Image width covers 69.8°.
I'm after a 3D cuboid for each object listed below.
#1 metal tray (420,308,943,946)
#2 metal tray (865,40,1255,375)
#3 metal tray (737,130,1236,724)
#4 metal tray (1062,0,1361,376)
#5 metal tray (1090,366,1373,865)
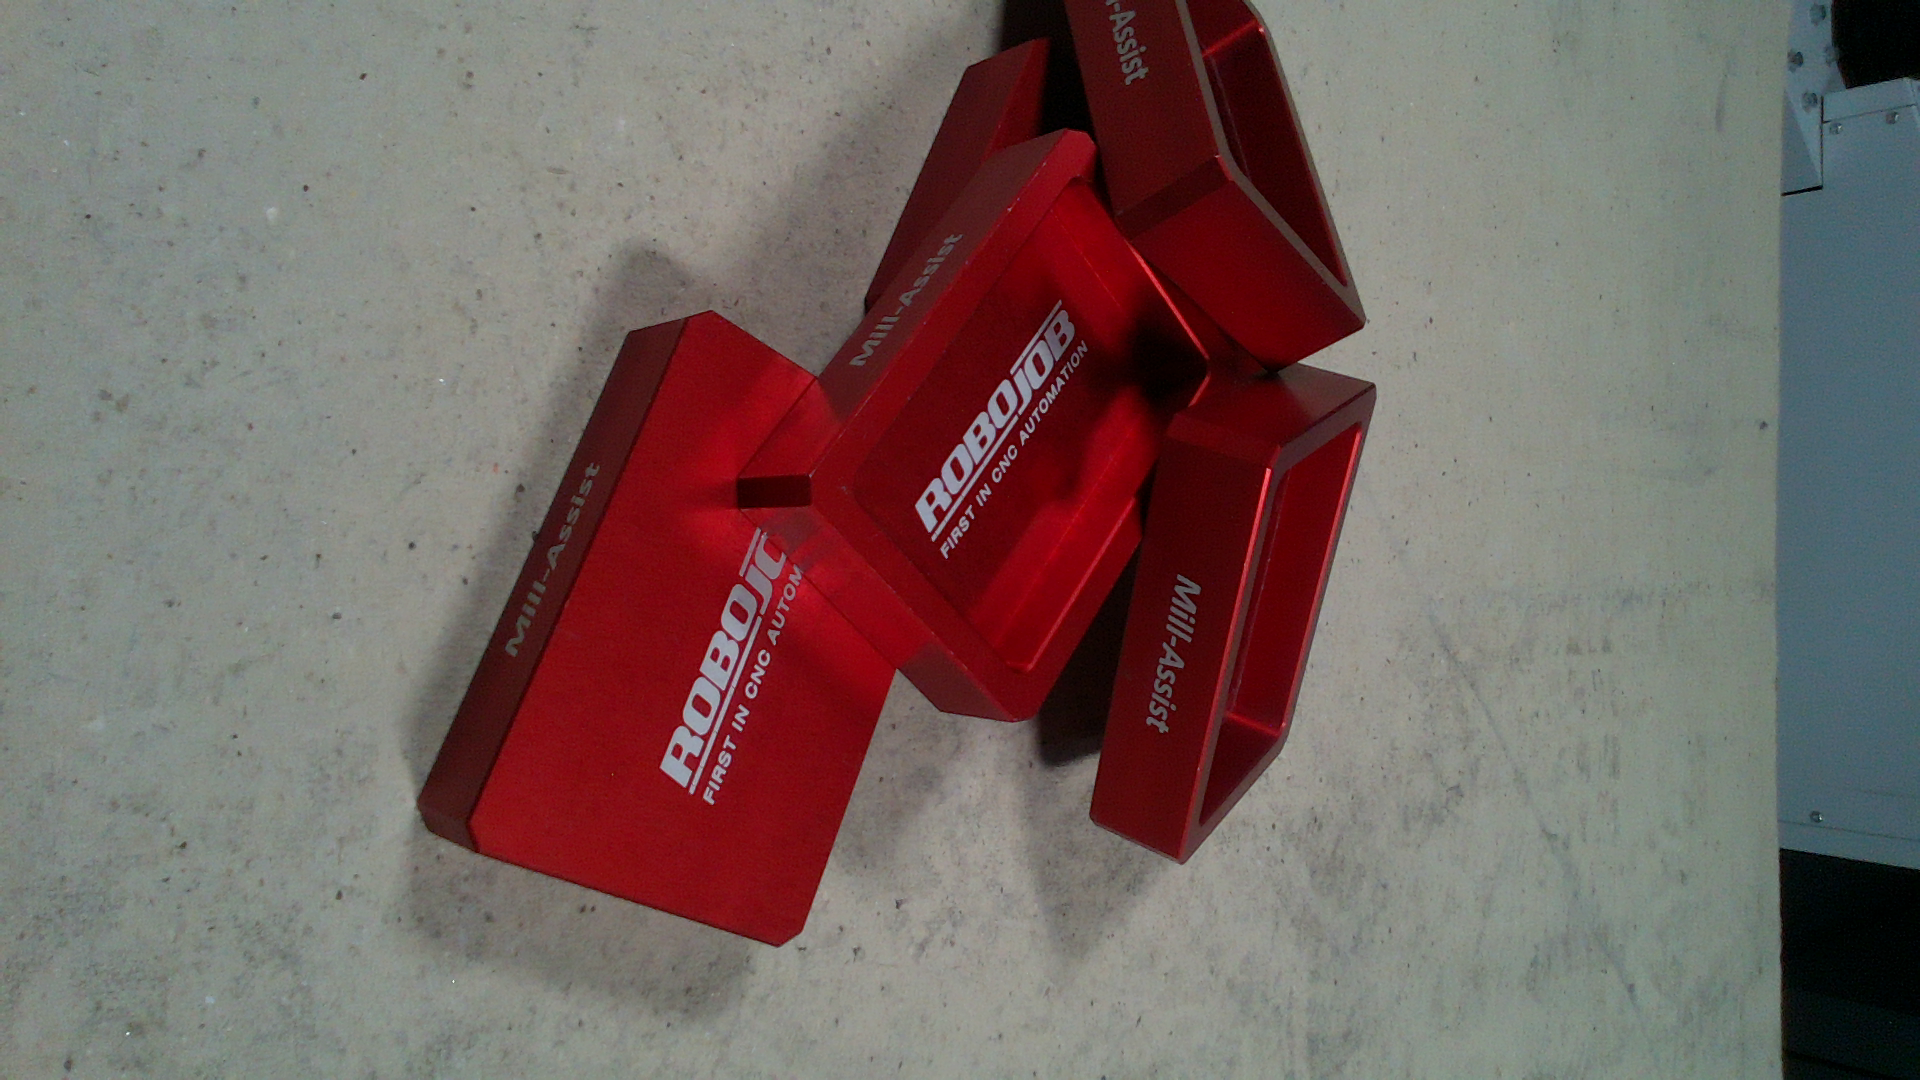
[{"bbox_3d":[-0.059,0.022,0.335,0.090,0.030,0.130,31,71,-36],"label":"metal tray"},{"bbox_3d":[0.041,-0.074,0.420,0.130,0.030,0.090,34,69,-35],"label":"metal tray"},{"bbox_3d":[0.013,-0.030,0.358,0.090,0.030,0.130,49,61,-29],"label":"metal tray"},{"bbox_3d":[0.070,-0.123,0.399,0.090,0.030,0.130,29,44,-46],"label":"metal tray"},{"bbox_3d":[0.082,0.019,0.409,0.090,0.030,0.130,-28,133,-53],"label":"metal tray"}]
